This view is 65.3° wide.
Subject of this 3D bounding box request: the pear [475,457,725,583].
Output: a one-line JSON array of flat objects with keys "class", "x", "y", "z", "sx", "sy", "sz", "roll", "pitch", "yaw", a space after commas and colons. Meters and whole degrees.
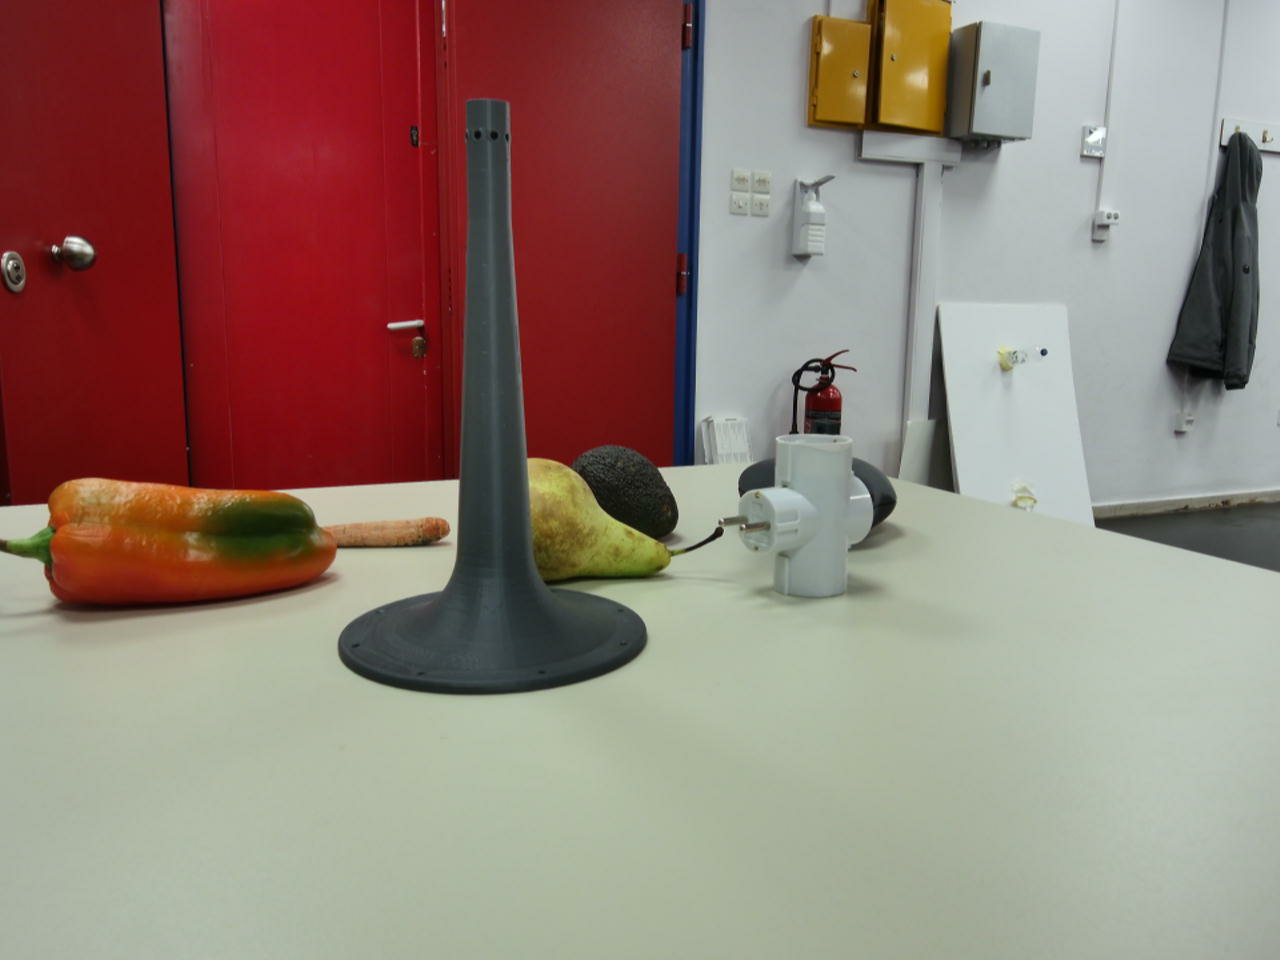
[{"class": "pear", "x": -0.029, "y": 0.023, "z": 0.614, "sx": 0.144, "sy": 0.075, "sz": 0.071, "roll": -3, "pitch": 8, "yaw": -17}]
